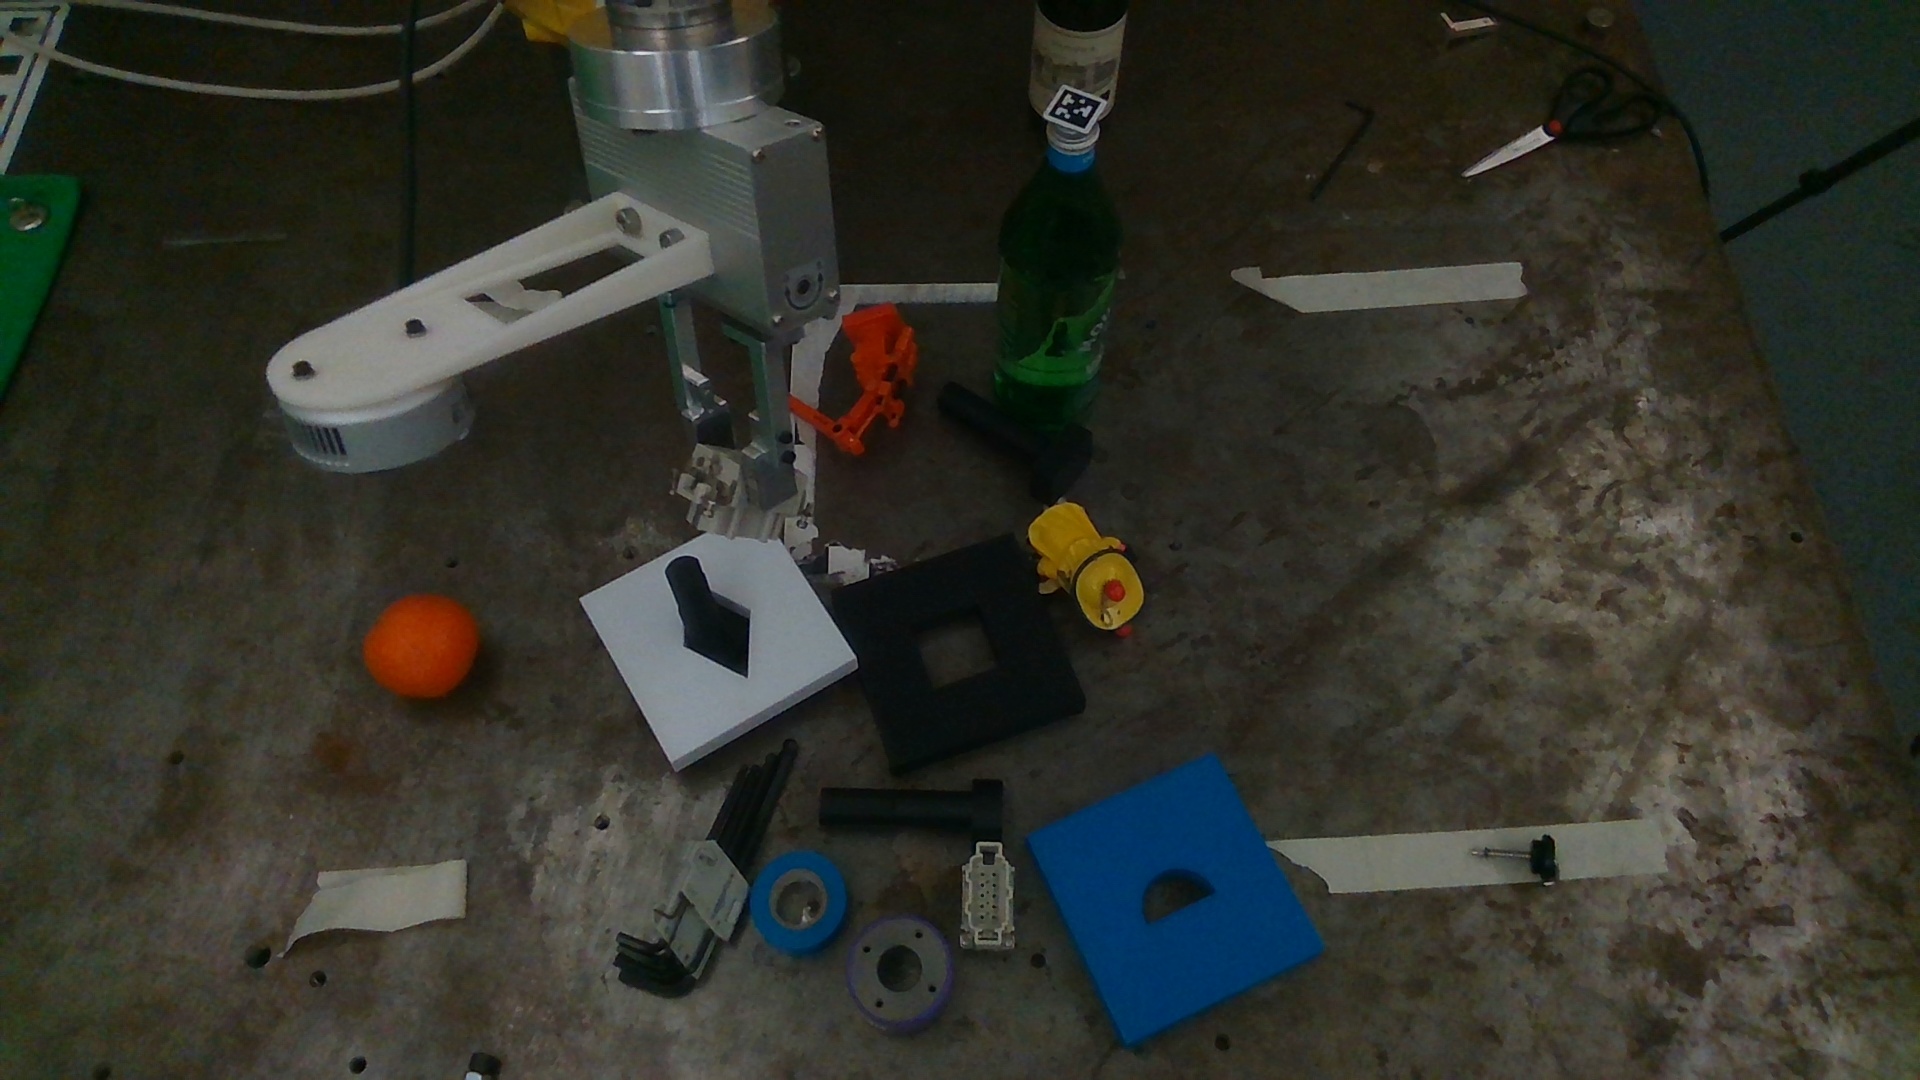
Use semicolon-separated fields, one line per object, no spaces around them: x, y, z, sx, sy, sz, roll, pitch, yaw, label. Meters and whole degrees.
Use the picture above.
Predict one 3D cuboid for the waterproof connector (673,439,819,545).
-0.098;-0.021;0.635;0.037;0.069;0.038;25;101;34;waterproof connector
